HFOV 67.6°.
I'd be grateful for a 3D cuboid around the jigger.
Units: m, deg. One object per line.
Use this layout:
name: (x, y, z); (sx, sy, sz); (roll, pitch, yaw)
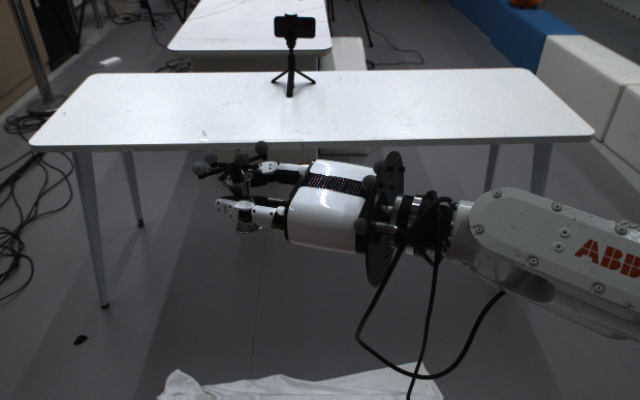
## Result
jigger: (-0.095, 0.003, 0.624); (0.043, 0.071, 0.043); (-12, 24, 5)
